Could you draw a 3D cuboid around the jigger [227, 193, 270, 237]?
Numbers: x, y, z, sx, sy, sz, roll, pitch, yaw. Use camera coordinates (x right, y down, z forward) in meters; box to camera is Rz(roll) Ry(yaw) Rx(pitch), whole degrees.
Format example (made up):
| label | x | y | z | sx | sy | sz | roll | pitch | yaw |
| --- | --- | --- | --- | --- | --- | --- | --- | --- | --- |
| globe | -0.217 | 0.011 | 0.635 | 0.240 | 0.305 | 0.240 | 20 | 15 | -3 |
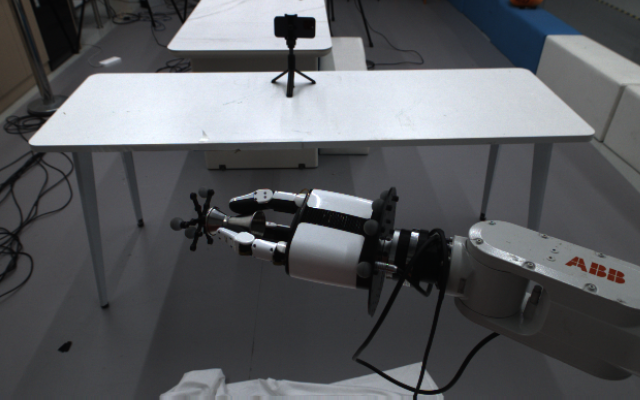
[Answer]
| label | x | y | z | sx | sy | sz | roll | pitch | yaw |
| --- | --- | --- | --- | --- | --- | --- | --- | --- | --- |
| jigger | -0.103 | 0.026 | 0.639 | 0.071 | 0.043 | 0.043 | 5 | 34 | 19 |
